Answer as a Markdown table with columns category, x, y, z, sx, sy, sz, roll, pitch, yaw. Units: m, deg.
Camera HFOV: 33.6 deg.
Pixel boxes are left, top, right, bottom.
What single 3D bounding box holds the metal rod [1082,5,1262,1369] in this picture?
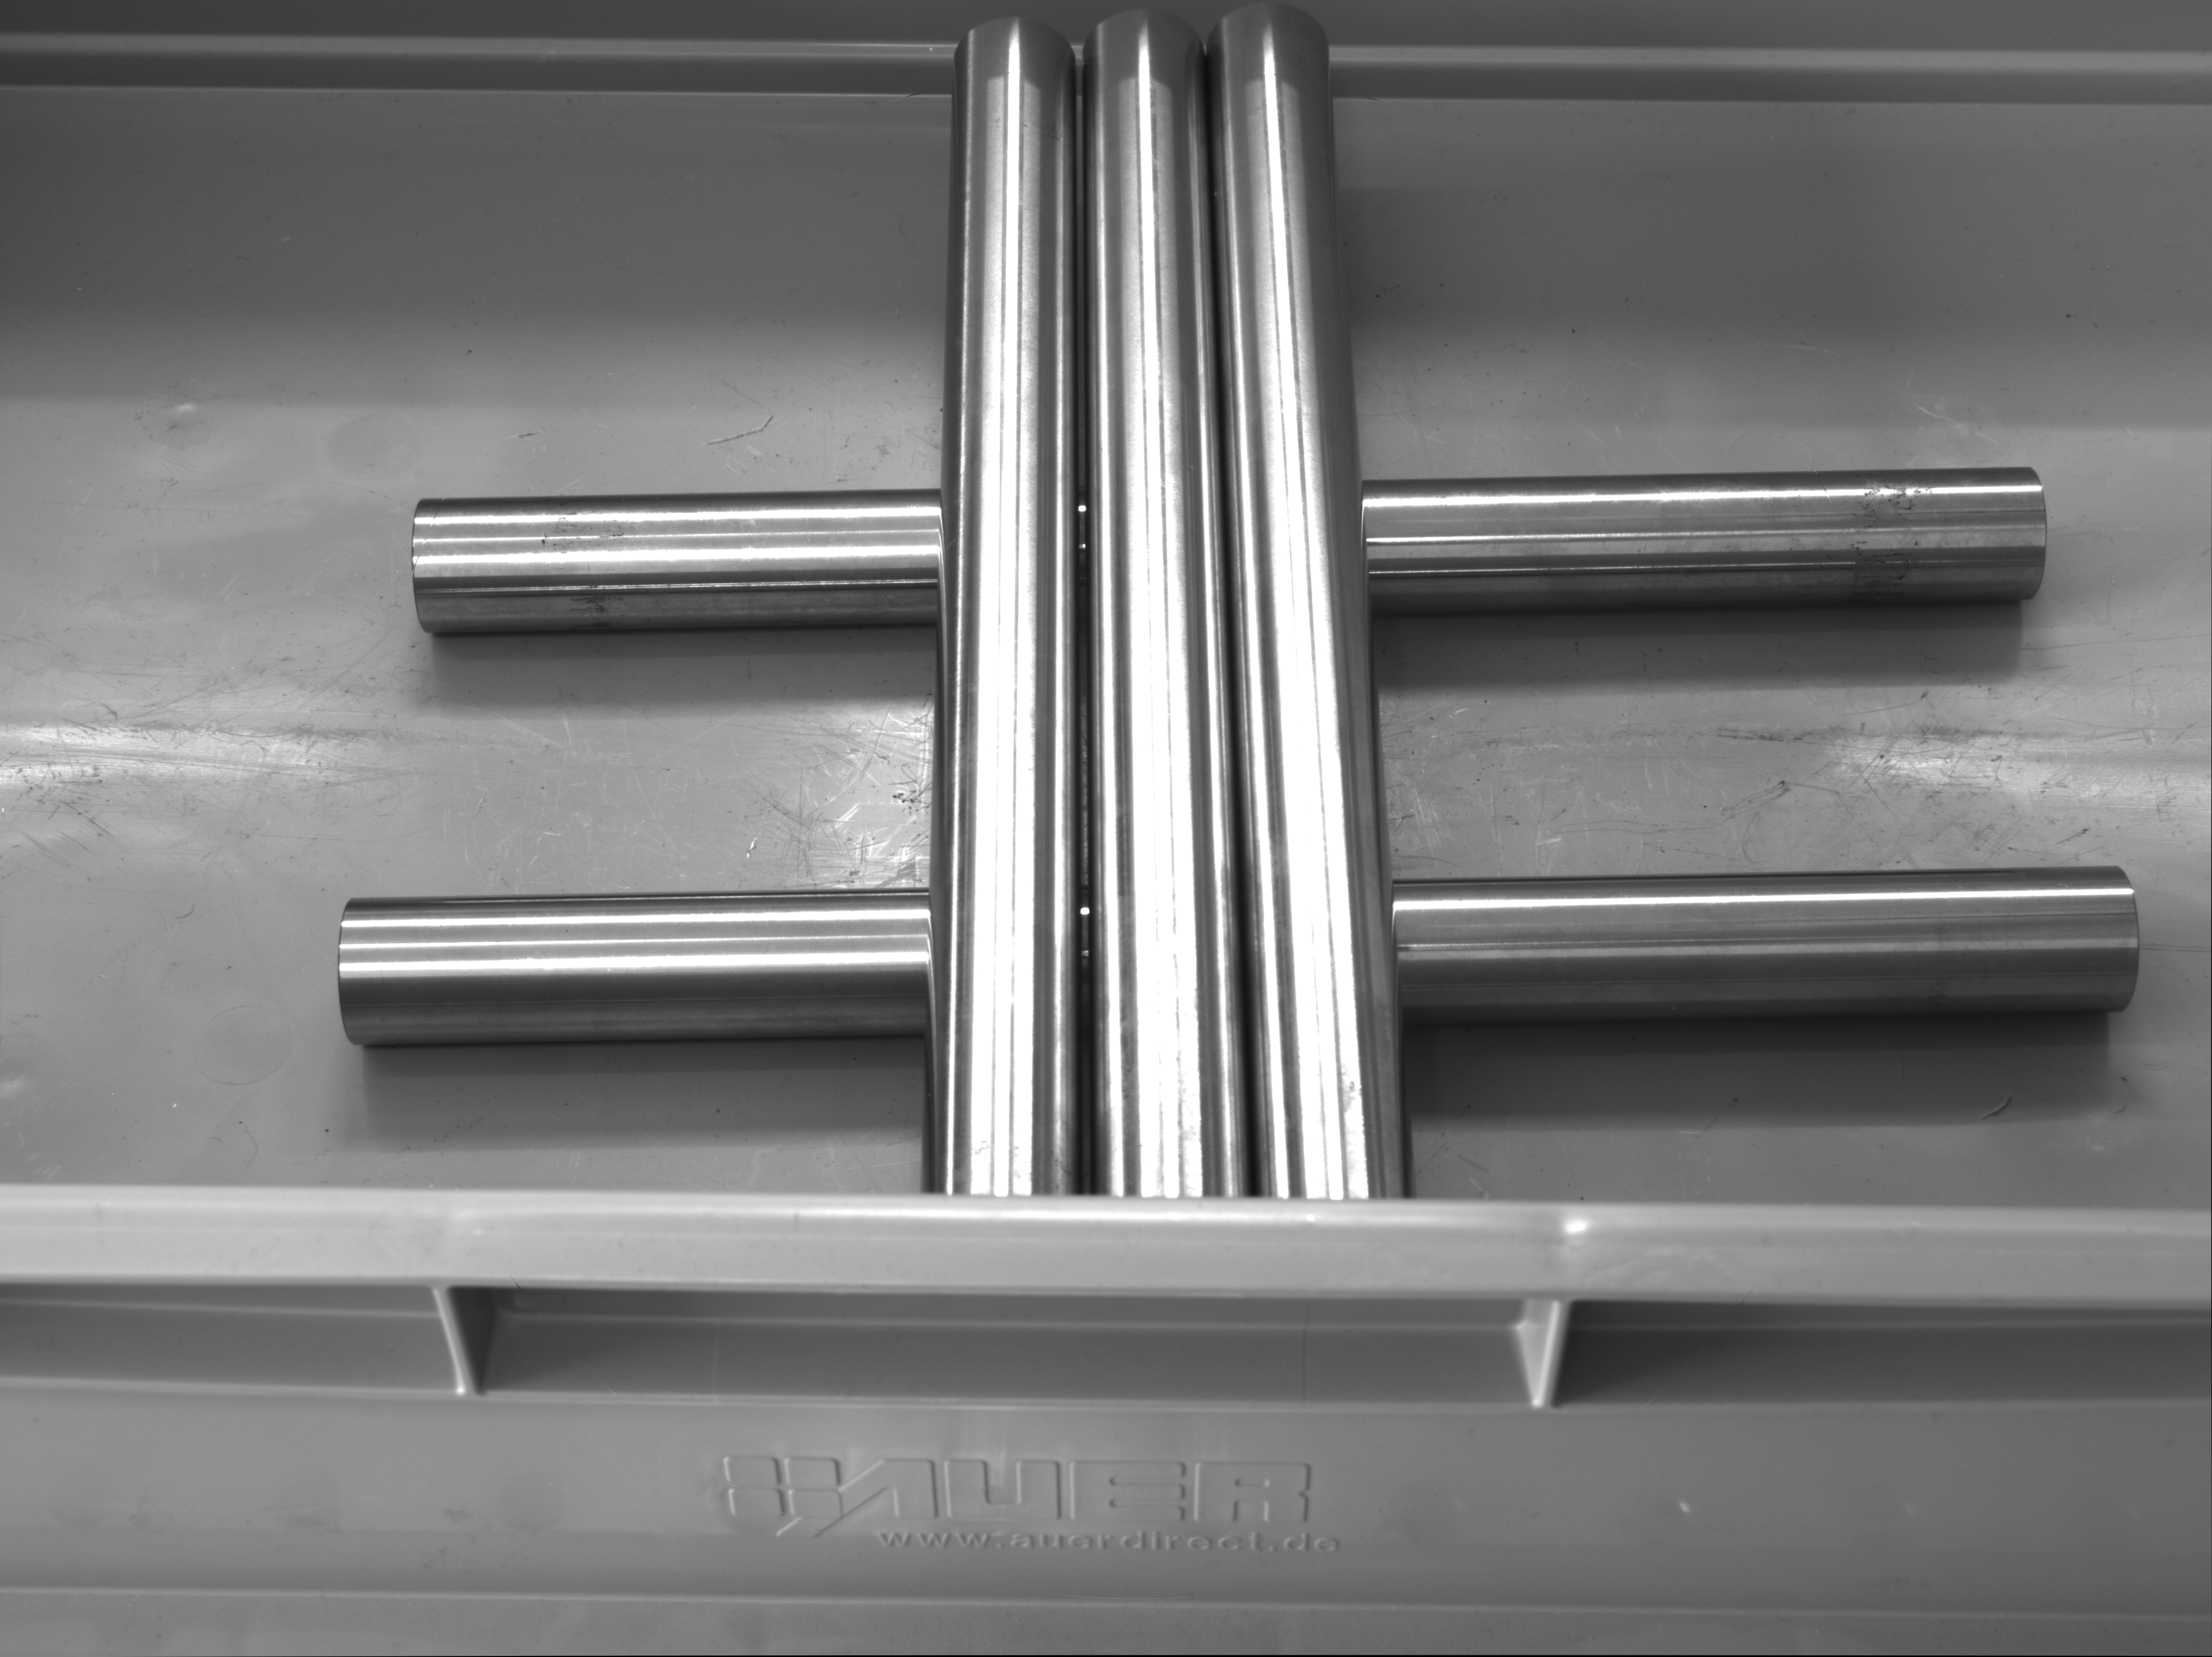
| category | x | y | z | sx | sy | sz | roll | pitch | yaw |
| --- | --- | --- | --- | --- | --- | --- | --- | --- | --- |
| metal rod | 0.009 | -0.041 | 0.641 | 0.025 | 0.025 | 0.300 | -1 | 50 | 0 |

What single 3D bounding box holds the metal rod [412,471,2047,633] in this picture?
| category | x | y | z | sx | sy | sz | roll | pitch | yaw |
| --- | --- | --- | --- | --- | --- | --- | --- | --- | --- |
| metal rod | 0.023 | -0.052 | 0.685 | 0.300 | 0.025 | 0.025 | -1 | 50 | -1 |

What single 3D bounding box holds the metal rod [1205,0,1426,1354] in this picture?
| category | x | y | z | sx | sy | sz | roll | pitch | yaw |
| --- | --- | --- | --- | --- | --- | --- | --- | --- | --- |
| metal rod | 0.034 | -0.043 | 0.643 | 0.025 | 0.025 | 0.300 | -1 | 50 | 0 |

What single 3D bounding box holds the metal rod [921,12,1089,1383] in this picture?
| category | x | y | z | sx | sy | sz | roll | pitch | yaw |
| --- | --- | --- | --- | --- | --- | --- | --- | --- | --- |
| metal rod | -0.017 | -0.039 | 0.640 | 0.025 | 0.025 | 0.300 | -1 | 50 | 0 |

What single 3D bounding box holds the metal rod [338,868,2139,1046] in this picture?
| category | x | y | z | sx | sy | sz | roll | pitch | yaw |
| --- | --- | --- | --- | --- | --- | --- | --- | --- | --- |
| metal rod | 0.023 | 0.022 | 0.623 | 0.300 | 0.025 | 0.025 | -1 | 50 | -1 |
